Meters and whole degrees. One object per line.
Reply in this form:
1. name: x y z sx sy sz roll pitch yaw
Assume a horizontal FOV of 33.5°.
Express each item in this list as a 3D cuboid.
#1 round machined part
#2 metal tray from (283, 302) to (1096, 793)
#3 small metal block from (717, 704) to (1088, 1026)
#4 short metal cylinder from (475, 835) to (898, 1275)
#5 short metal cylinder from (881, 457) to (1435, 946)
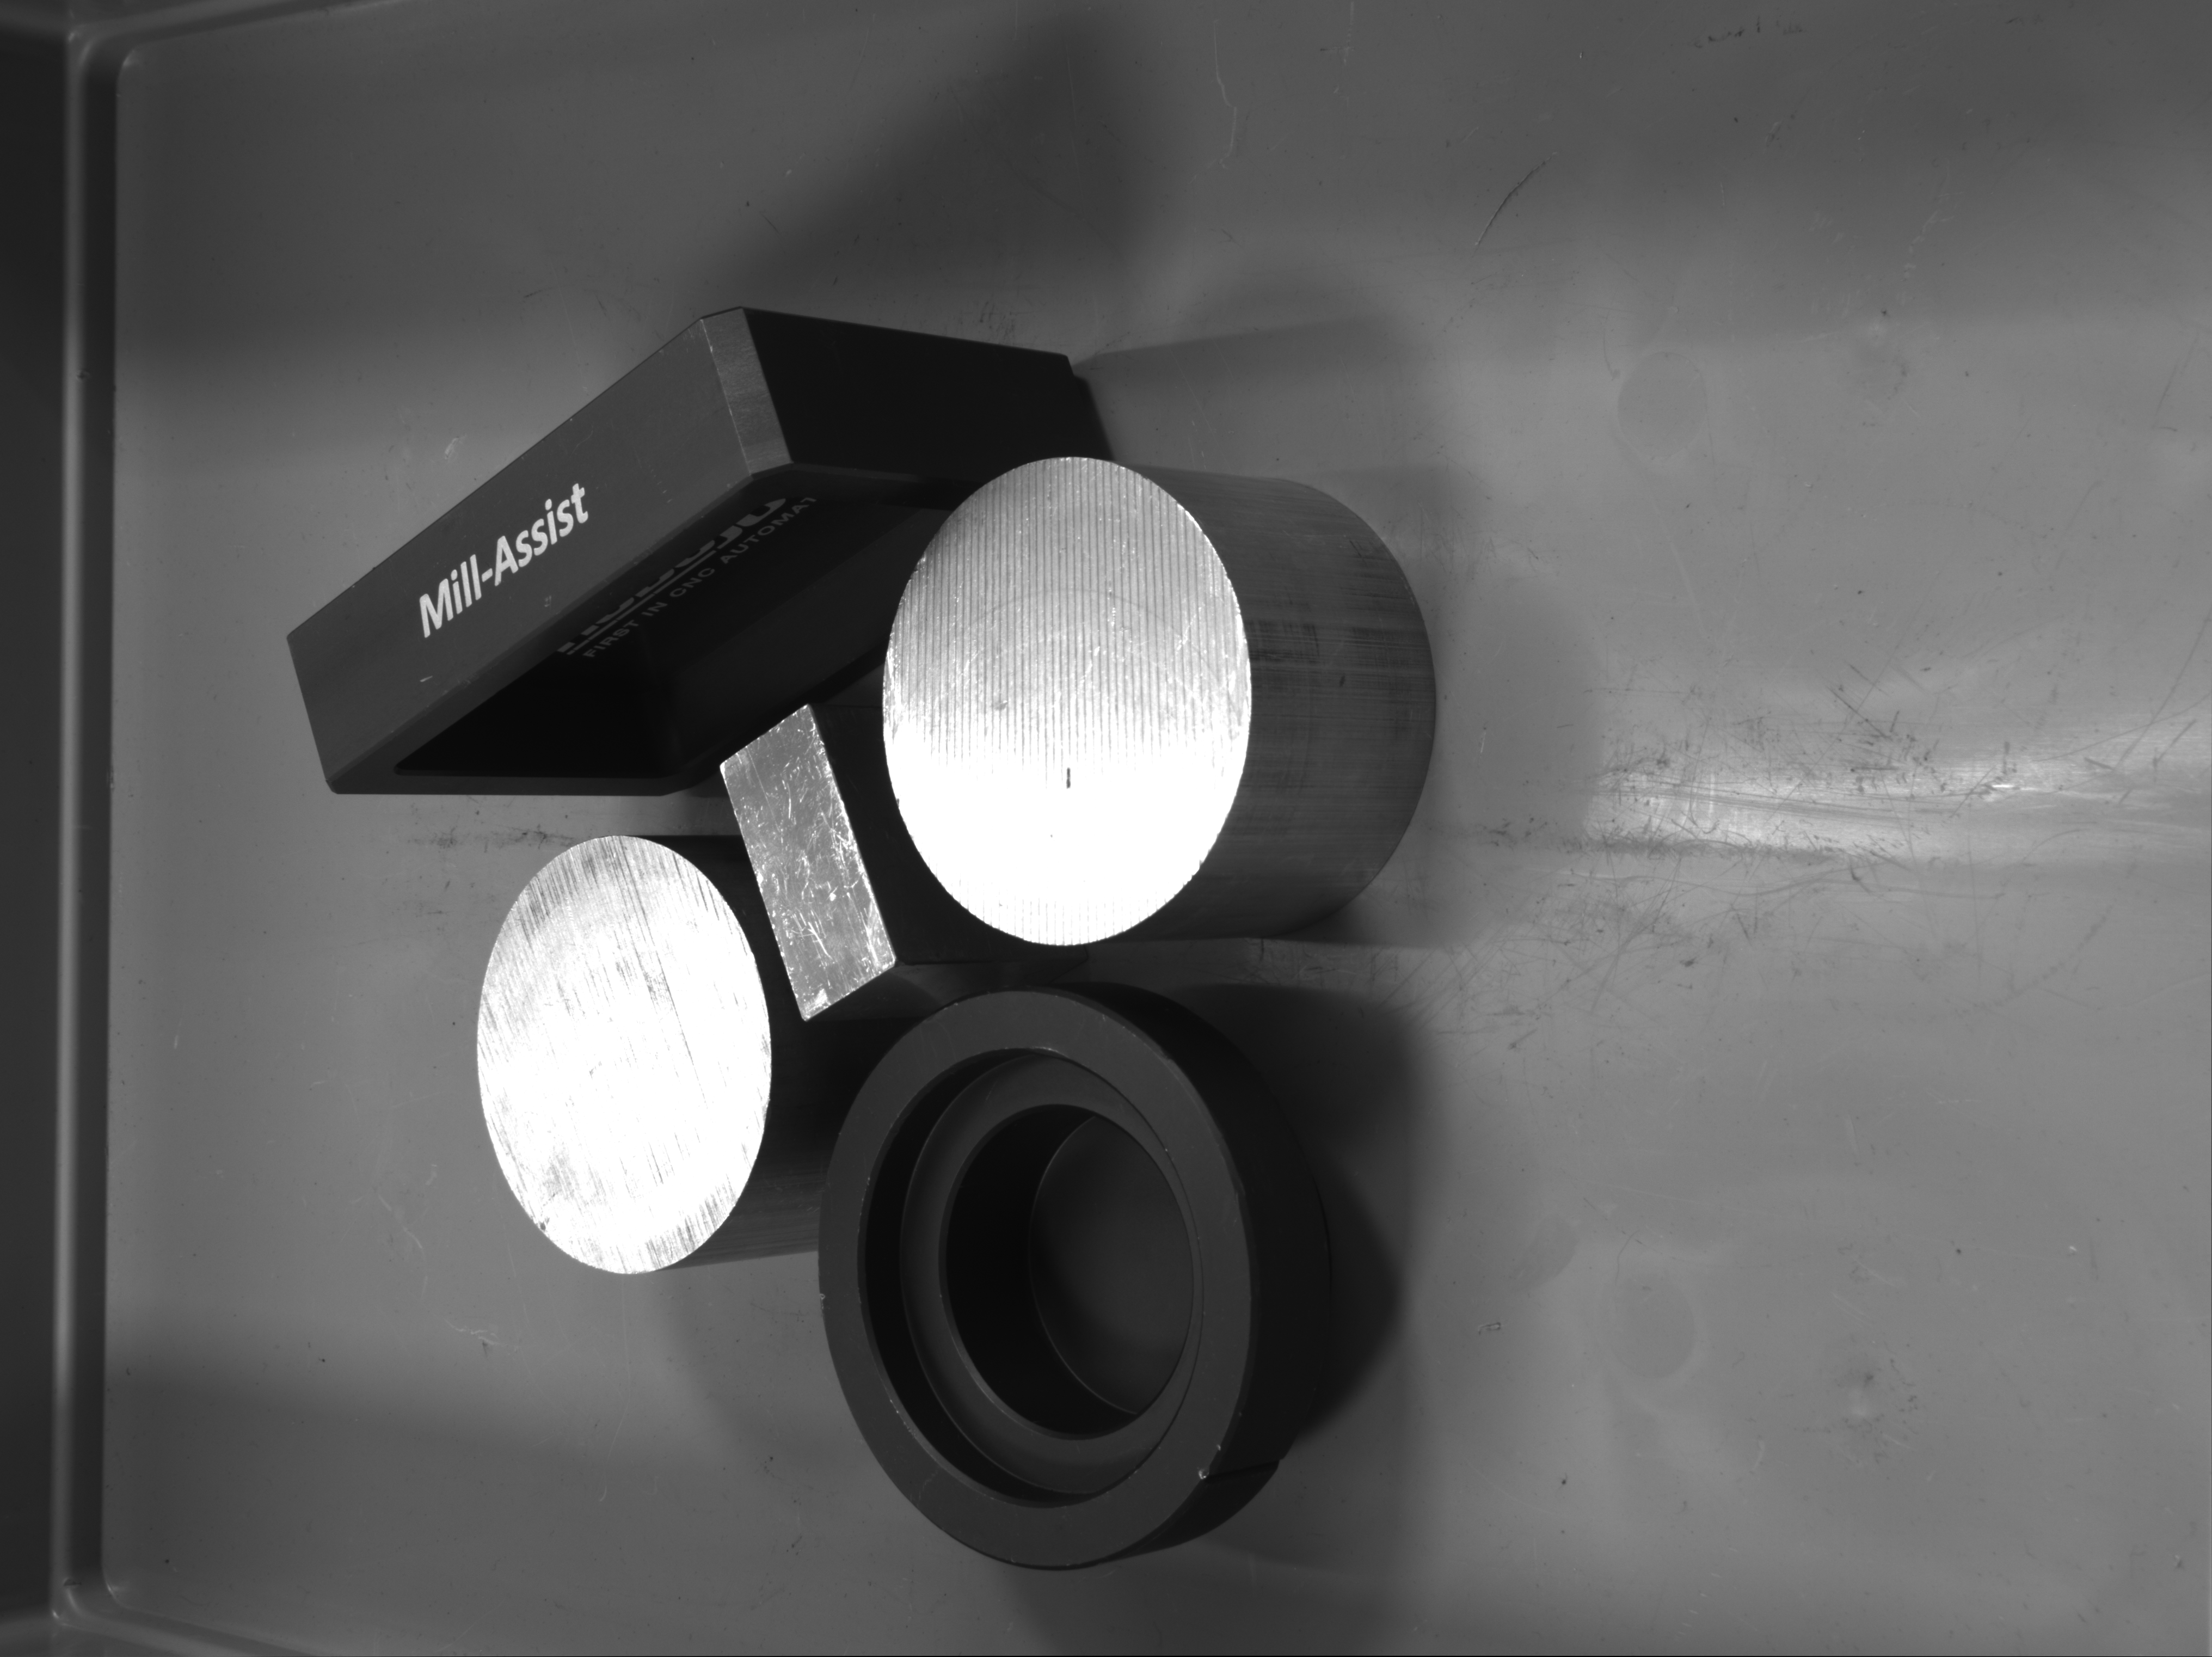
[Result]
1. round machined part: 0.000 0.075 0.633 0.098 0.042 0.098 0 90 40
2. metal tray: -0.075 -0.046 0.663 0.130 0.090 0.030 -30 71 37
3. small metal block: -0.036 0.006 0.657 0.025 0.050 0.050 -32 70 36
4. short metal cylinder: -0.073 0.041 0.689 0.080 0.050 0.080 0 90 40
5. short metal cylinder: 0.008 -0.021 0.620 0.080 0.050 0.080 0 90 40
